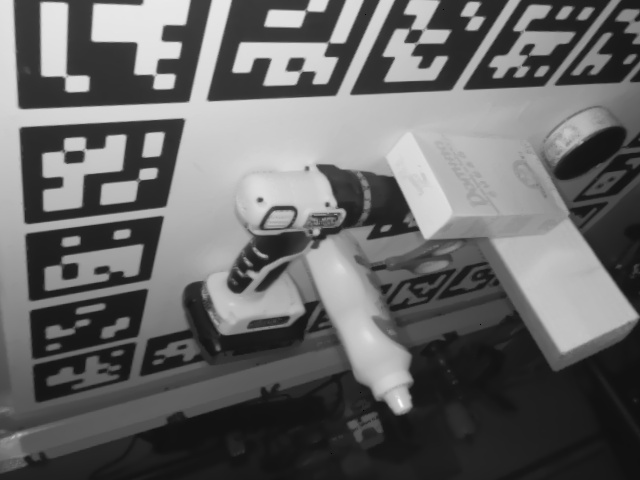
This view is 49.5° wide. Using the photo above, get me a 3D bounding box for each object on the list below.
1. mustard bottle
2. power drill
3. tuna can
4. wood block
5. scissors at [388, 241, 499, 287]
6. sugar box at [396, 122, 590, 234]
[{"bbox_3d":[0.056,0.076,0.673,0.058,0.191,0.096,-31,147,7],"label":"mustard bottle"},{"bbox_3d":[0.006,0.005,0.646,0.187,0.057,0.184,2,131,-38],"label":"power drill"},{"bbox_3d":[0.303,-0.100,0.729,0.086,0.034,0.085,-19,146,-12],"label":"tuna can"},{"bbox_3d":[0.264,0.029,0.747,0.091,0.206,0.089,-24,147,-3],"label":"wood block"},{"bbox_3d":[0.134,0.037,0.824,0.206,0.016,0.086,-7,147,-29],"label":"scissors"},{"bbox_3d":[0.163,-0.055,0.643,0.179,0.093,0.044,2,142,-35],"label":"sugar box"}]
